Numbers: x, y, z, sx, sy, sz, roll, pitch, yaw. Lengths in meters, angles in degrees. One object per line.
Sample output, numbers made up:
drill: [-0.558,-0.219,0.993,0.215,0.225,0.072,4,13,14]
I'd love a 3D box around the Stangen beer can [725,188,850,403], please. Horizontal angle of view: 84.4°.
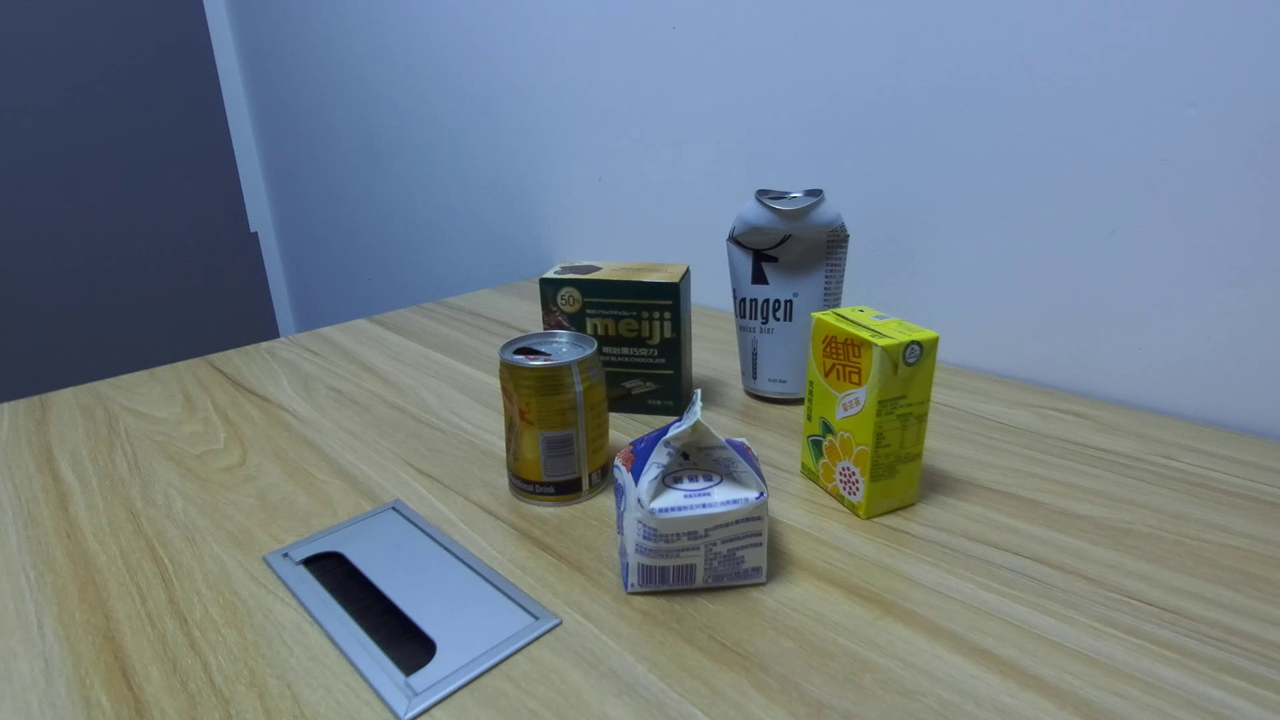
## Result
Stangen beer can: [0.113,-0.048,0.550,0.077,0.162,0.065,-11,22,-25]

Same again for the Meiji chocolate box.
Meiji chocolate box: [-0.016,-0.017,0.552,0.110,0.109,0.056,3,21,13]

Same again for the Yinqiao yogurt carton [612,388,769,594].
Yinqiao yogurt carton: [0.025,0.061,0.365,0.077,0.093,0.083,-3,20,-3]

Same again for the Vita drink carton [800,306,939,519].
Vita drink carton: [0.134,0.029,0.418,0.044,0.109,0.066,-9,22,-20]

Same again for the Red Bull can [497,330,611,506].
Red Bull can: [-0.054,0.034,0.442,0.069,0.092,0.069,-1,21,1]
